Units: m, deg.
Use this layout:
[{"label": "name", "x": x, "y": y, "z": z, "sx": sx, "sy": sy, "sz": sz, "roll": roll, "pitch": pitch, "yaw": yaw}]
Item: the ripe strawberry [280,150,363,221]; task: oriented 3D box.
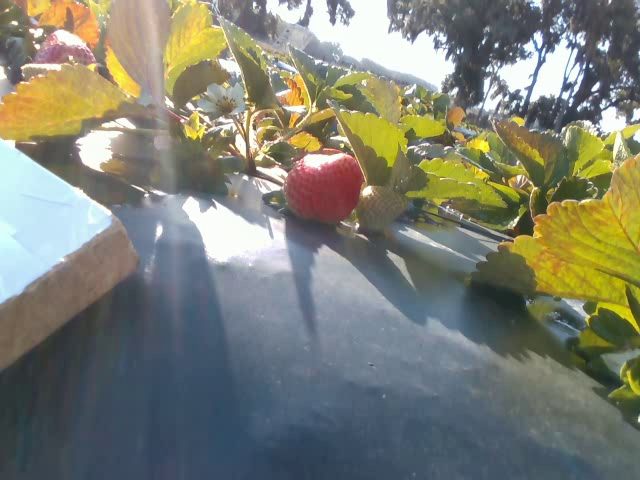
[{"label": "ripe strawberry", "x": 0.005, "y": -0.020, "z": 0.240, "sx": 0.042, "sy": 0.037, "sz": 0.045, "roll": 32, "pitch": -39, "yaw": -3}]
